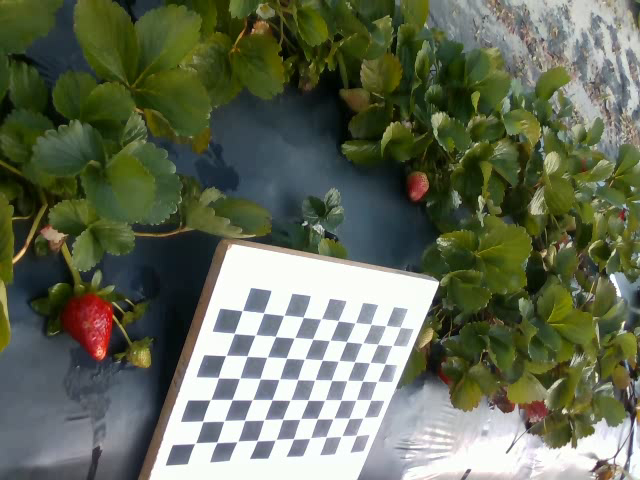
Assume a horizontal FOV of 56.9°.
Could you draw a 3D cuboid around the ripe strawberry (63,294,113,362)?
[{"bbox_3d":[-0.190,0.076,0.490,0.043,0.057,0.052,-14,-34,-24],"label":"ripe strawberry"}]
